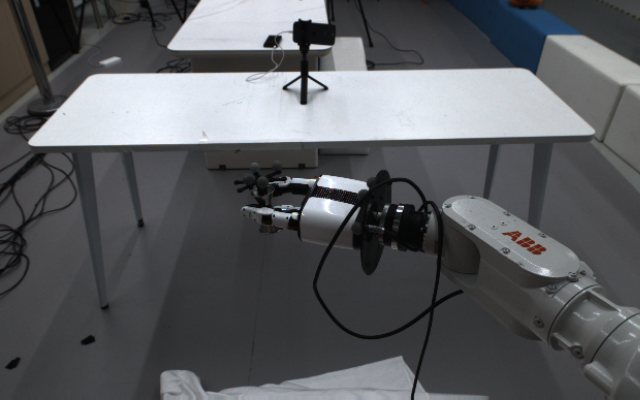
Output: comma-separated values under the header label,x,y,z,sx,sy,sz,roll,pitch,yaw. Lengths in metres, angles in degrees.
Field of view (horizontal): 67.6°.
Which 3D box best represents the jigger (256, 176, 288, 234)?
label,x,y,z,sx,sy,sz,roll,pitch,yaw
jigger,-0.083,0.013,0.782,0.043,0.071,0.043,-10,24,5
